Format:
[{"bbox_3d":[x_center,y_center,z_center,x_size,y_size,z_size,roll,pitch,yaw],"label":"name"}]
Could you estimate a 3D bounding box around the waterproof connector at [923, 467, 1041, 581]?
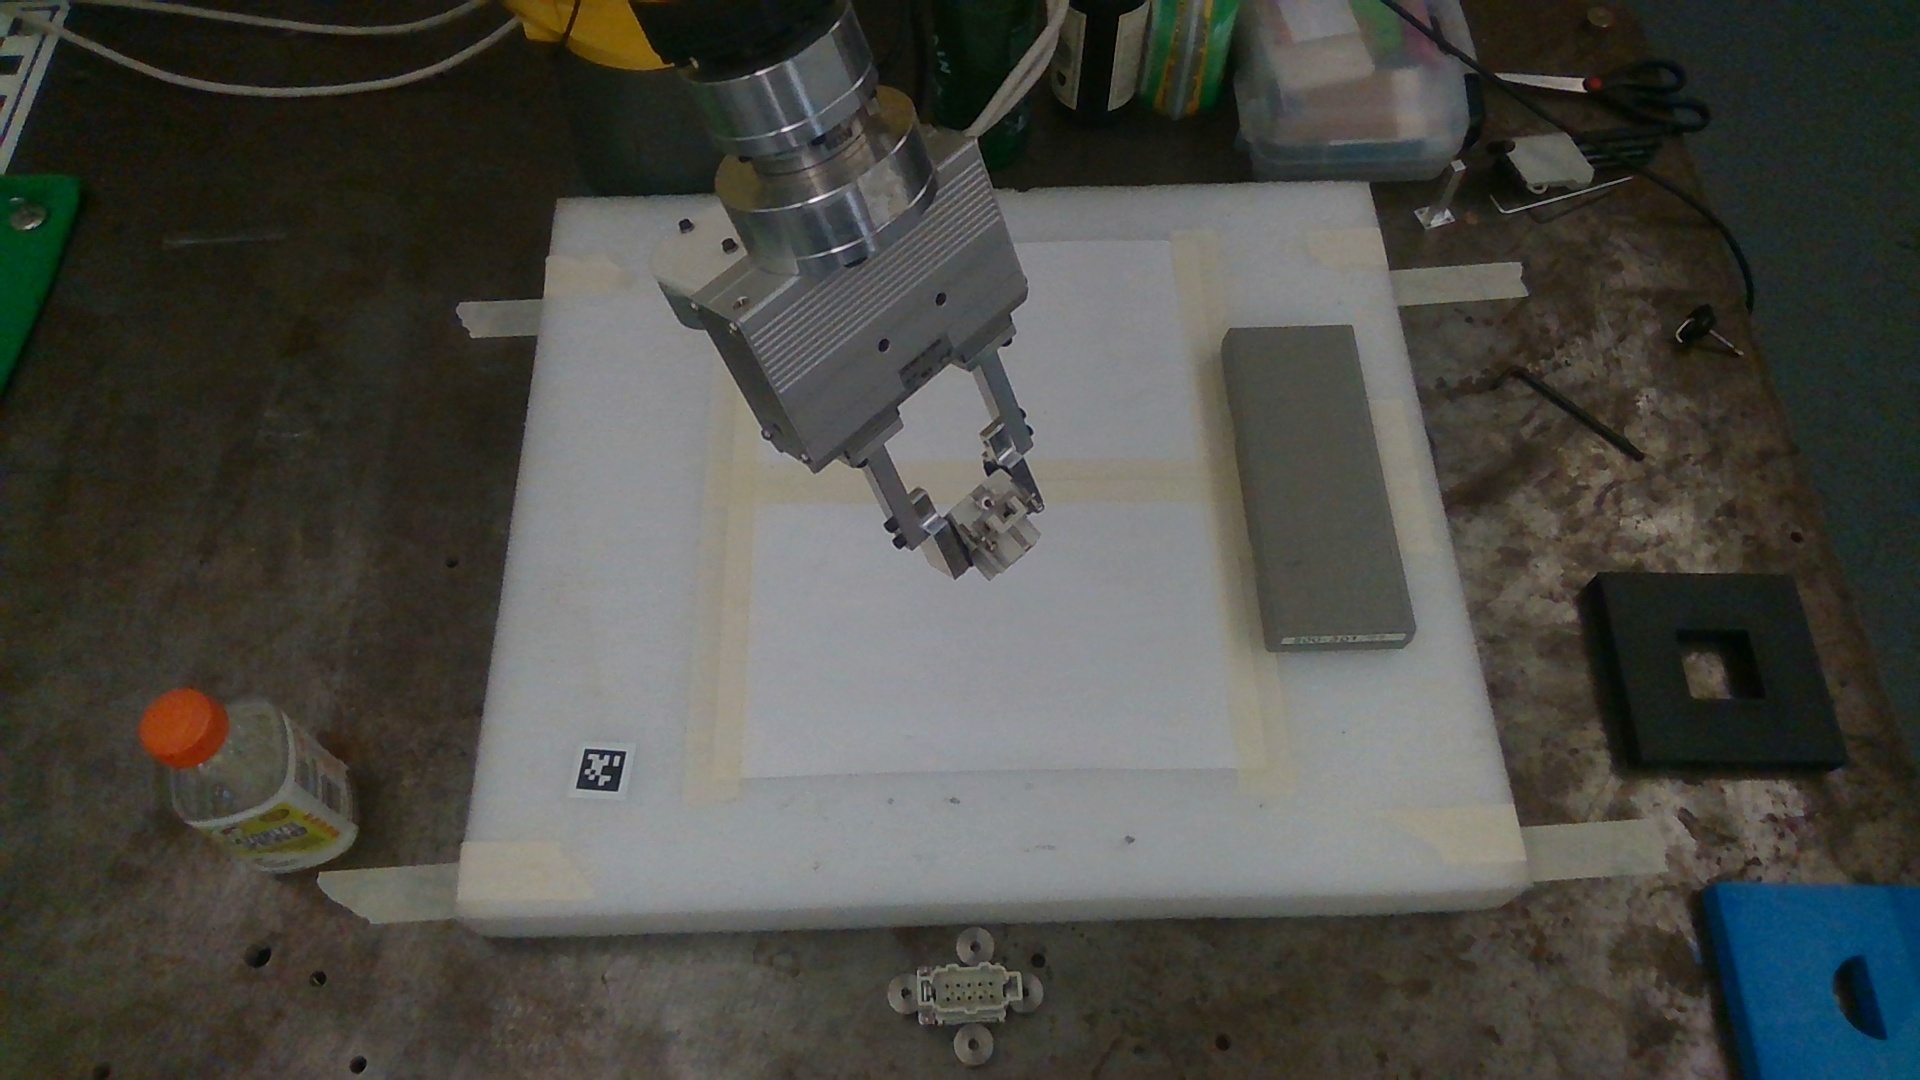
[{"bbox_3d":[0.013,-0.005,0.651,0.036,0.069,0.038,-40,94,-23],"label":"waterproof connector"}]
